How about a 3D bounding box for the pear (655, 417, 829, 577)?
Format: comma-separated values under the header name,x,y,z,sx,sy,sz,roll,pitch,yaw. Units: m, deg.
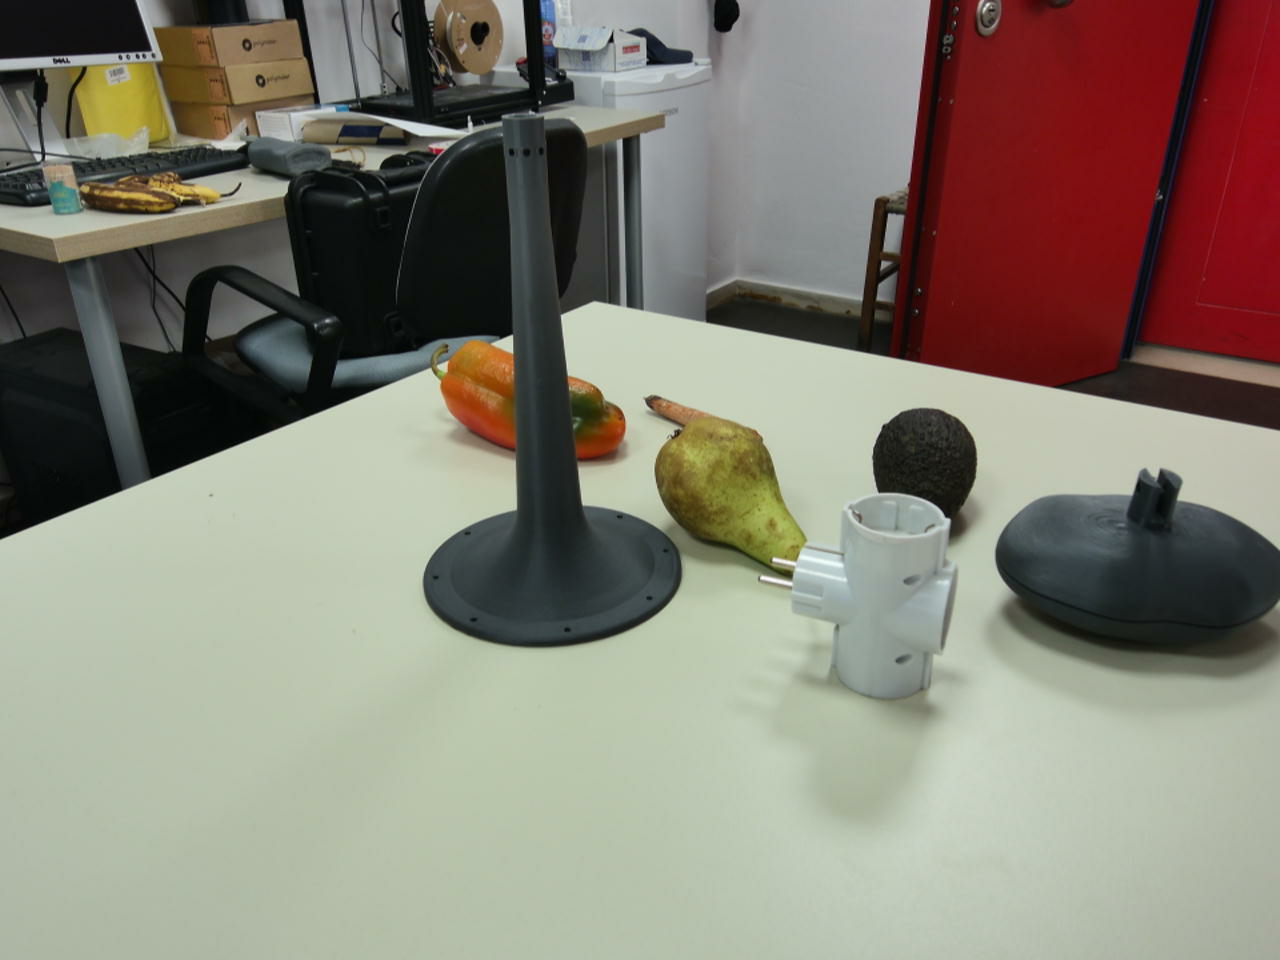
name,x,y,z,sx,sy,sz,roll,pitch,yaw
pear,0.070,0.008,0.590,0.144,0.075,0.071,21,33,38
